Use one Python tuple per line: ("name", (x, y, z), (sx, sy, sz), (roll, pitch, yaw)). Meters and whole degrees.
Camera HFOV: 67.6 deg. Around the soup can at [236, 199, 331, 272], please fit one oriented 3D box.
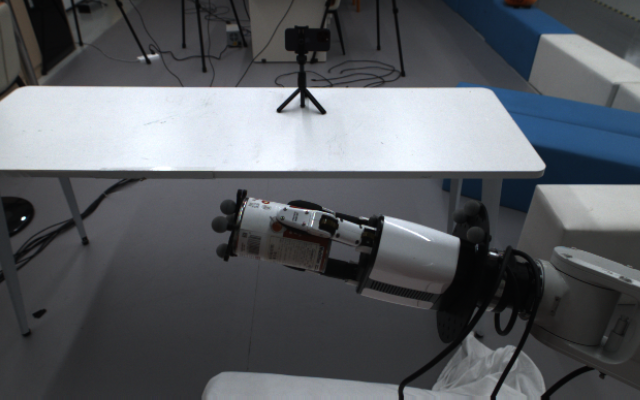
("soup can", (-0.036, 0.038, 0.539), (0.101, 0.067, 0.067), (11, 35, -2))
